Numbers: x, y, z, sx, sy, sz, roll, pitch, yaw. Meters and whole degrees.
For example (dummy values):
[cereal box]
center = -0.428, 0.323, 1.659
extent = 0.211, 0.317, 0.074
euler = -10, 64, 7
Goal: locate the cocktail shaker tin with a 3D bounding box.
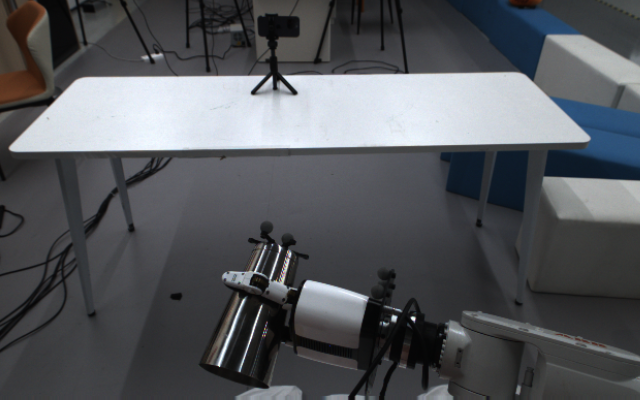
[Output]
[cocktail shaker tin]
center = -0.080, 0.146, 0.630
extent = 0.093, 0.093, 0.170
euler = 10, 59, 11
